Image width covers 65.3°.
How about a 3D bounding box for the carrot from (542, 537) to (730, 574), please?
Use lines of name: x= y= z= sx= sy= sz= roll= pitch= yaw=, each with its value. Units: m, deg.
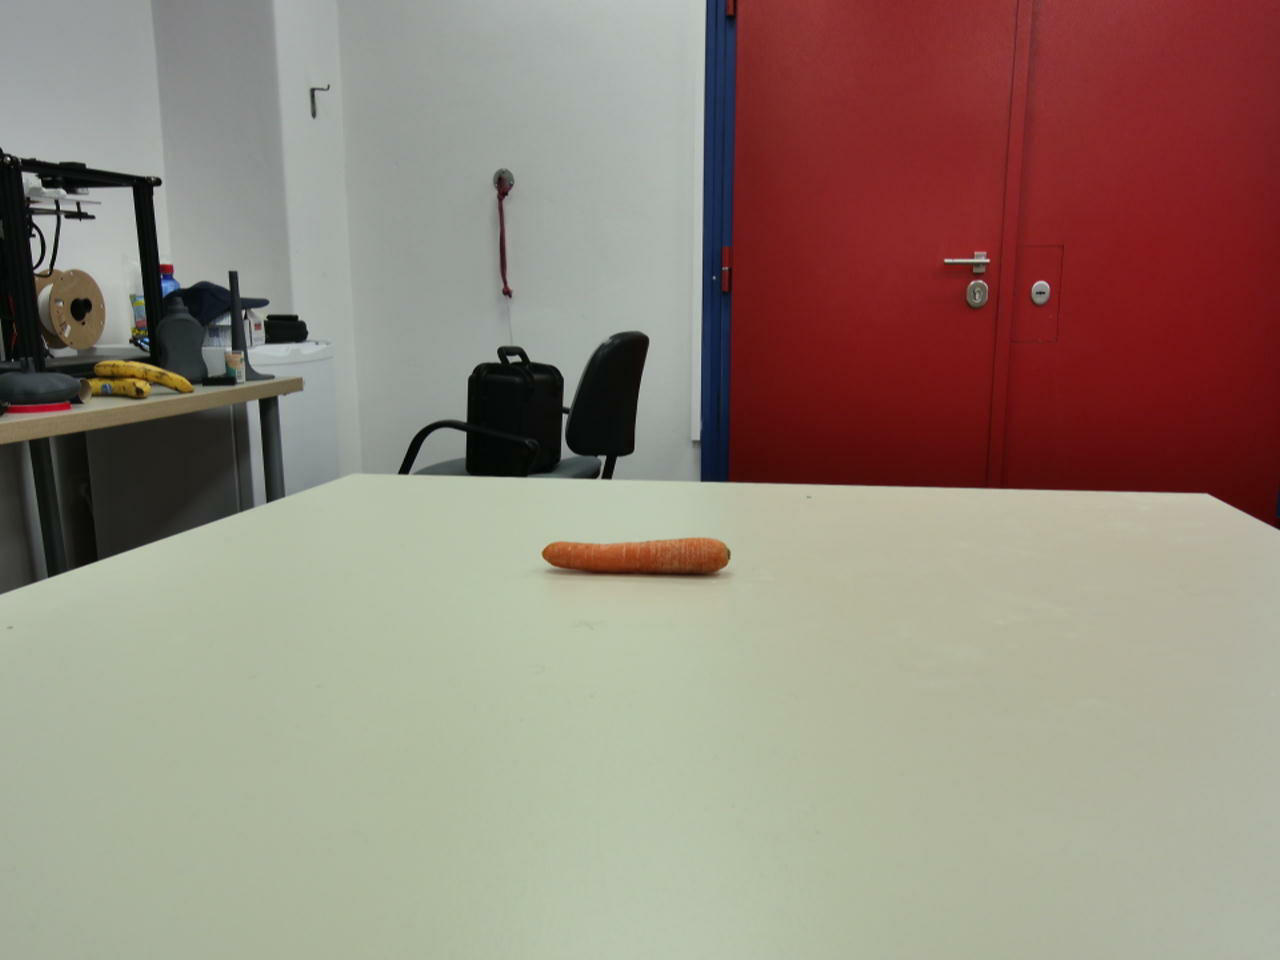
carrot: x=-0.003 y=0.048 z=0.643 sx=0.122 sy=0.023 sz=0.024 roll=1 pitch=8 yaw=8
